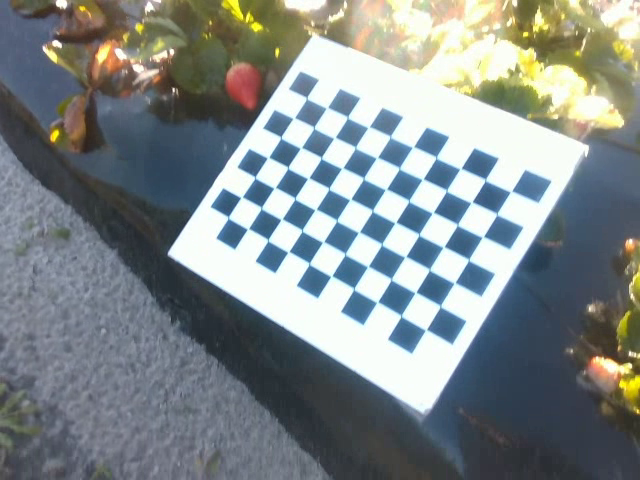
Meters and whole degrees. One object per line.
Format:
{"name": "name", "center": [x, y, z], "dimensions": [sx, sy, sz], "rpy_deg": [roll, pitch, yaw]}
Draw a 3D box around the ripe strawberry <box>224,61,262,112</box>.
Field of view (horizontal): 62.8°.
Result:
{"name": "ripe strawberry", "center": [-0.094, -0.178, 0.608], "dimensions": [0.040, 0.065, 0.040], "rpy_deg": [-19, -18, 2]}
